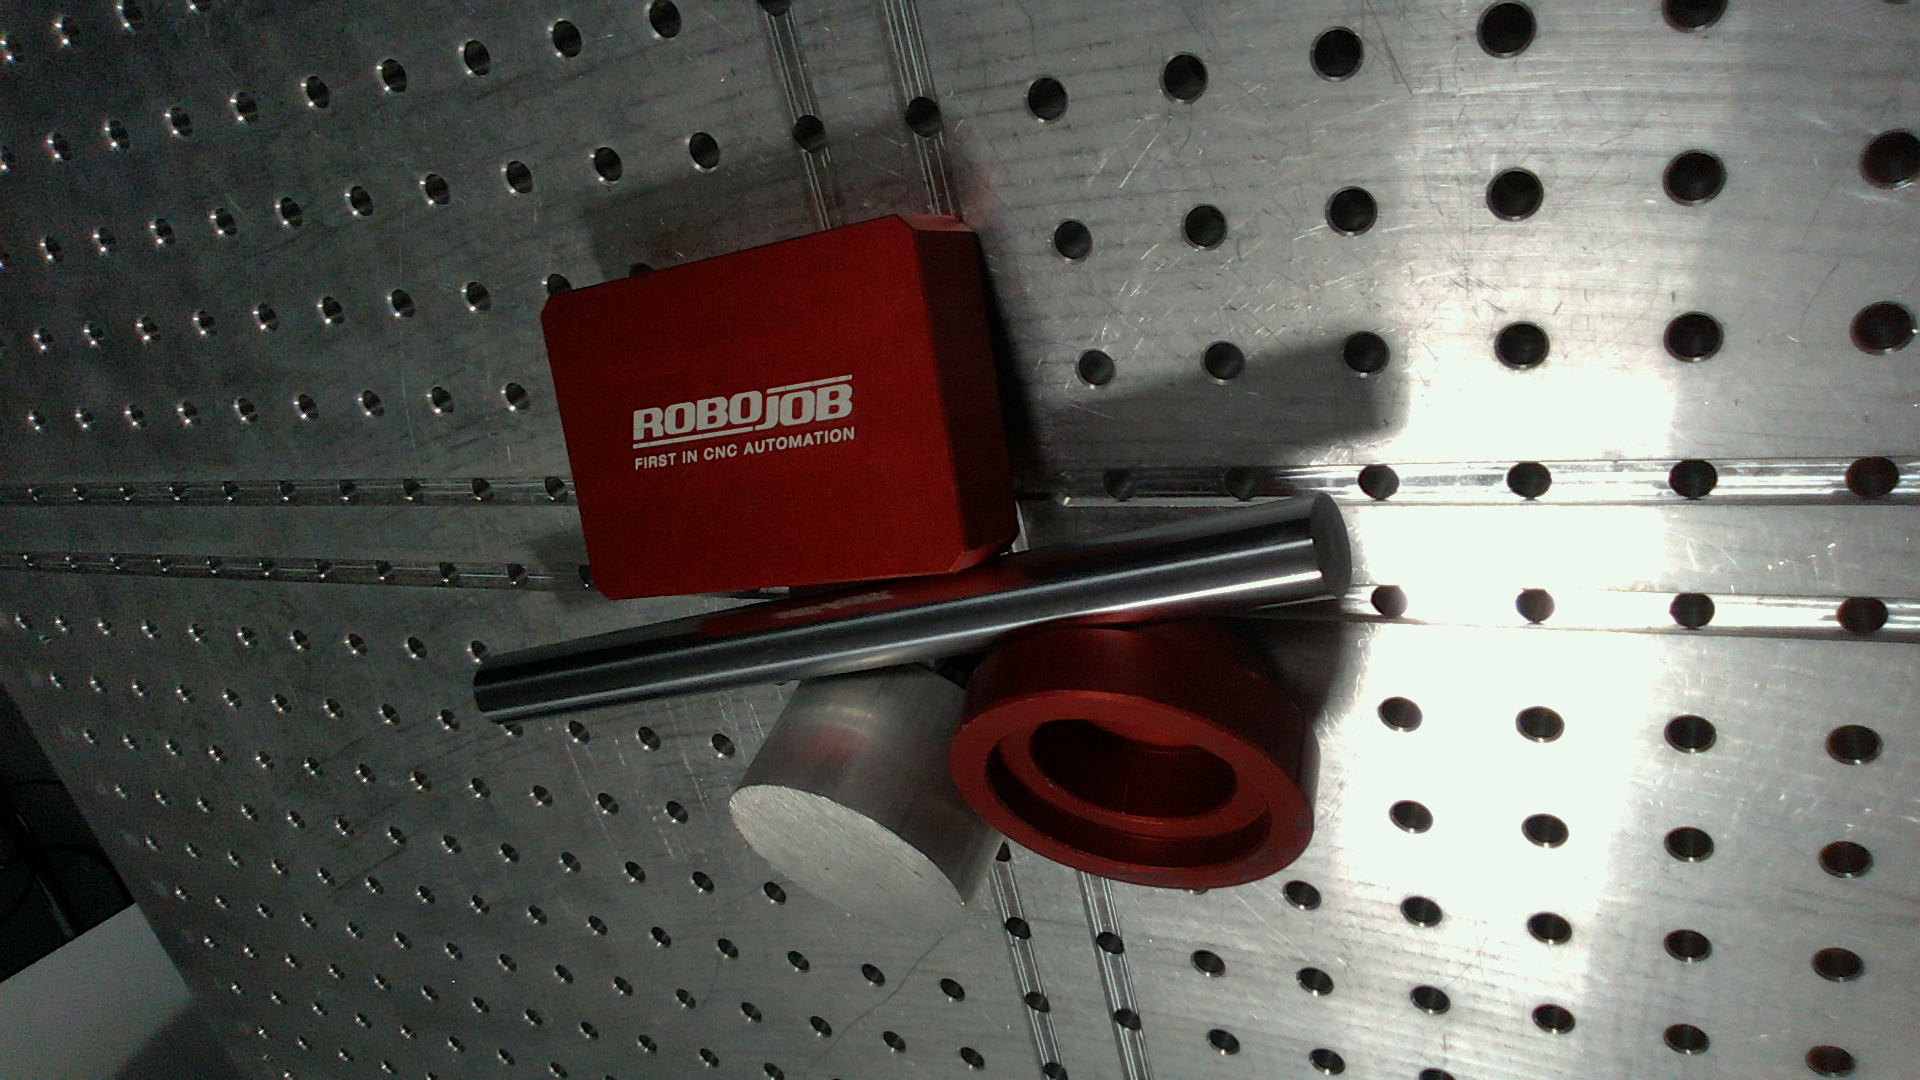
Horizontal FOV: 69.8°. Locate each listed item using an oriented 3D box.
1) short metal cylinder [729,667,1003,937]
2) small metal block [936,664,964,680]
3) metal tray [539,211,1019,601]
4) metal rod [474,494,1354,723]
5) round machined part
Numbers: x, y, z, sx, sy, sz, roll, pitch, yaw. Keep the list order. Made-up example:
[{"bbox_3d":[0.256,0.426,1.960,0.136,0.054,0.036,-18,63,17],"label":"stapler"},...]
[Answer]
[{"bbox_3d":[-0.024,0.079,0.426,0.080,0.050,0.080,19,145,14],"label":"short metal cylinder"},{"bbox_3d":[-0.022,0.017,0.430,0.050,0.025,0.050,17,125,19],"label":"small metal block"},{"bbox_3d":[-0.053,-0.033,0.382,0.130,0.030,0.090,-6,97,30],"label":"metal tray"},{"bbox_3d":[-0.036,0.027,0.399,0.299,0.025,0.025,-12,113,33],"label":"metal rod"},{"bbox_3d":[0.049,0.054,0.377,0.098,0.042,0.098,11,143,9],"label":"round machined part"}]
